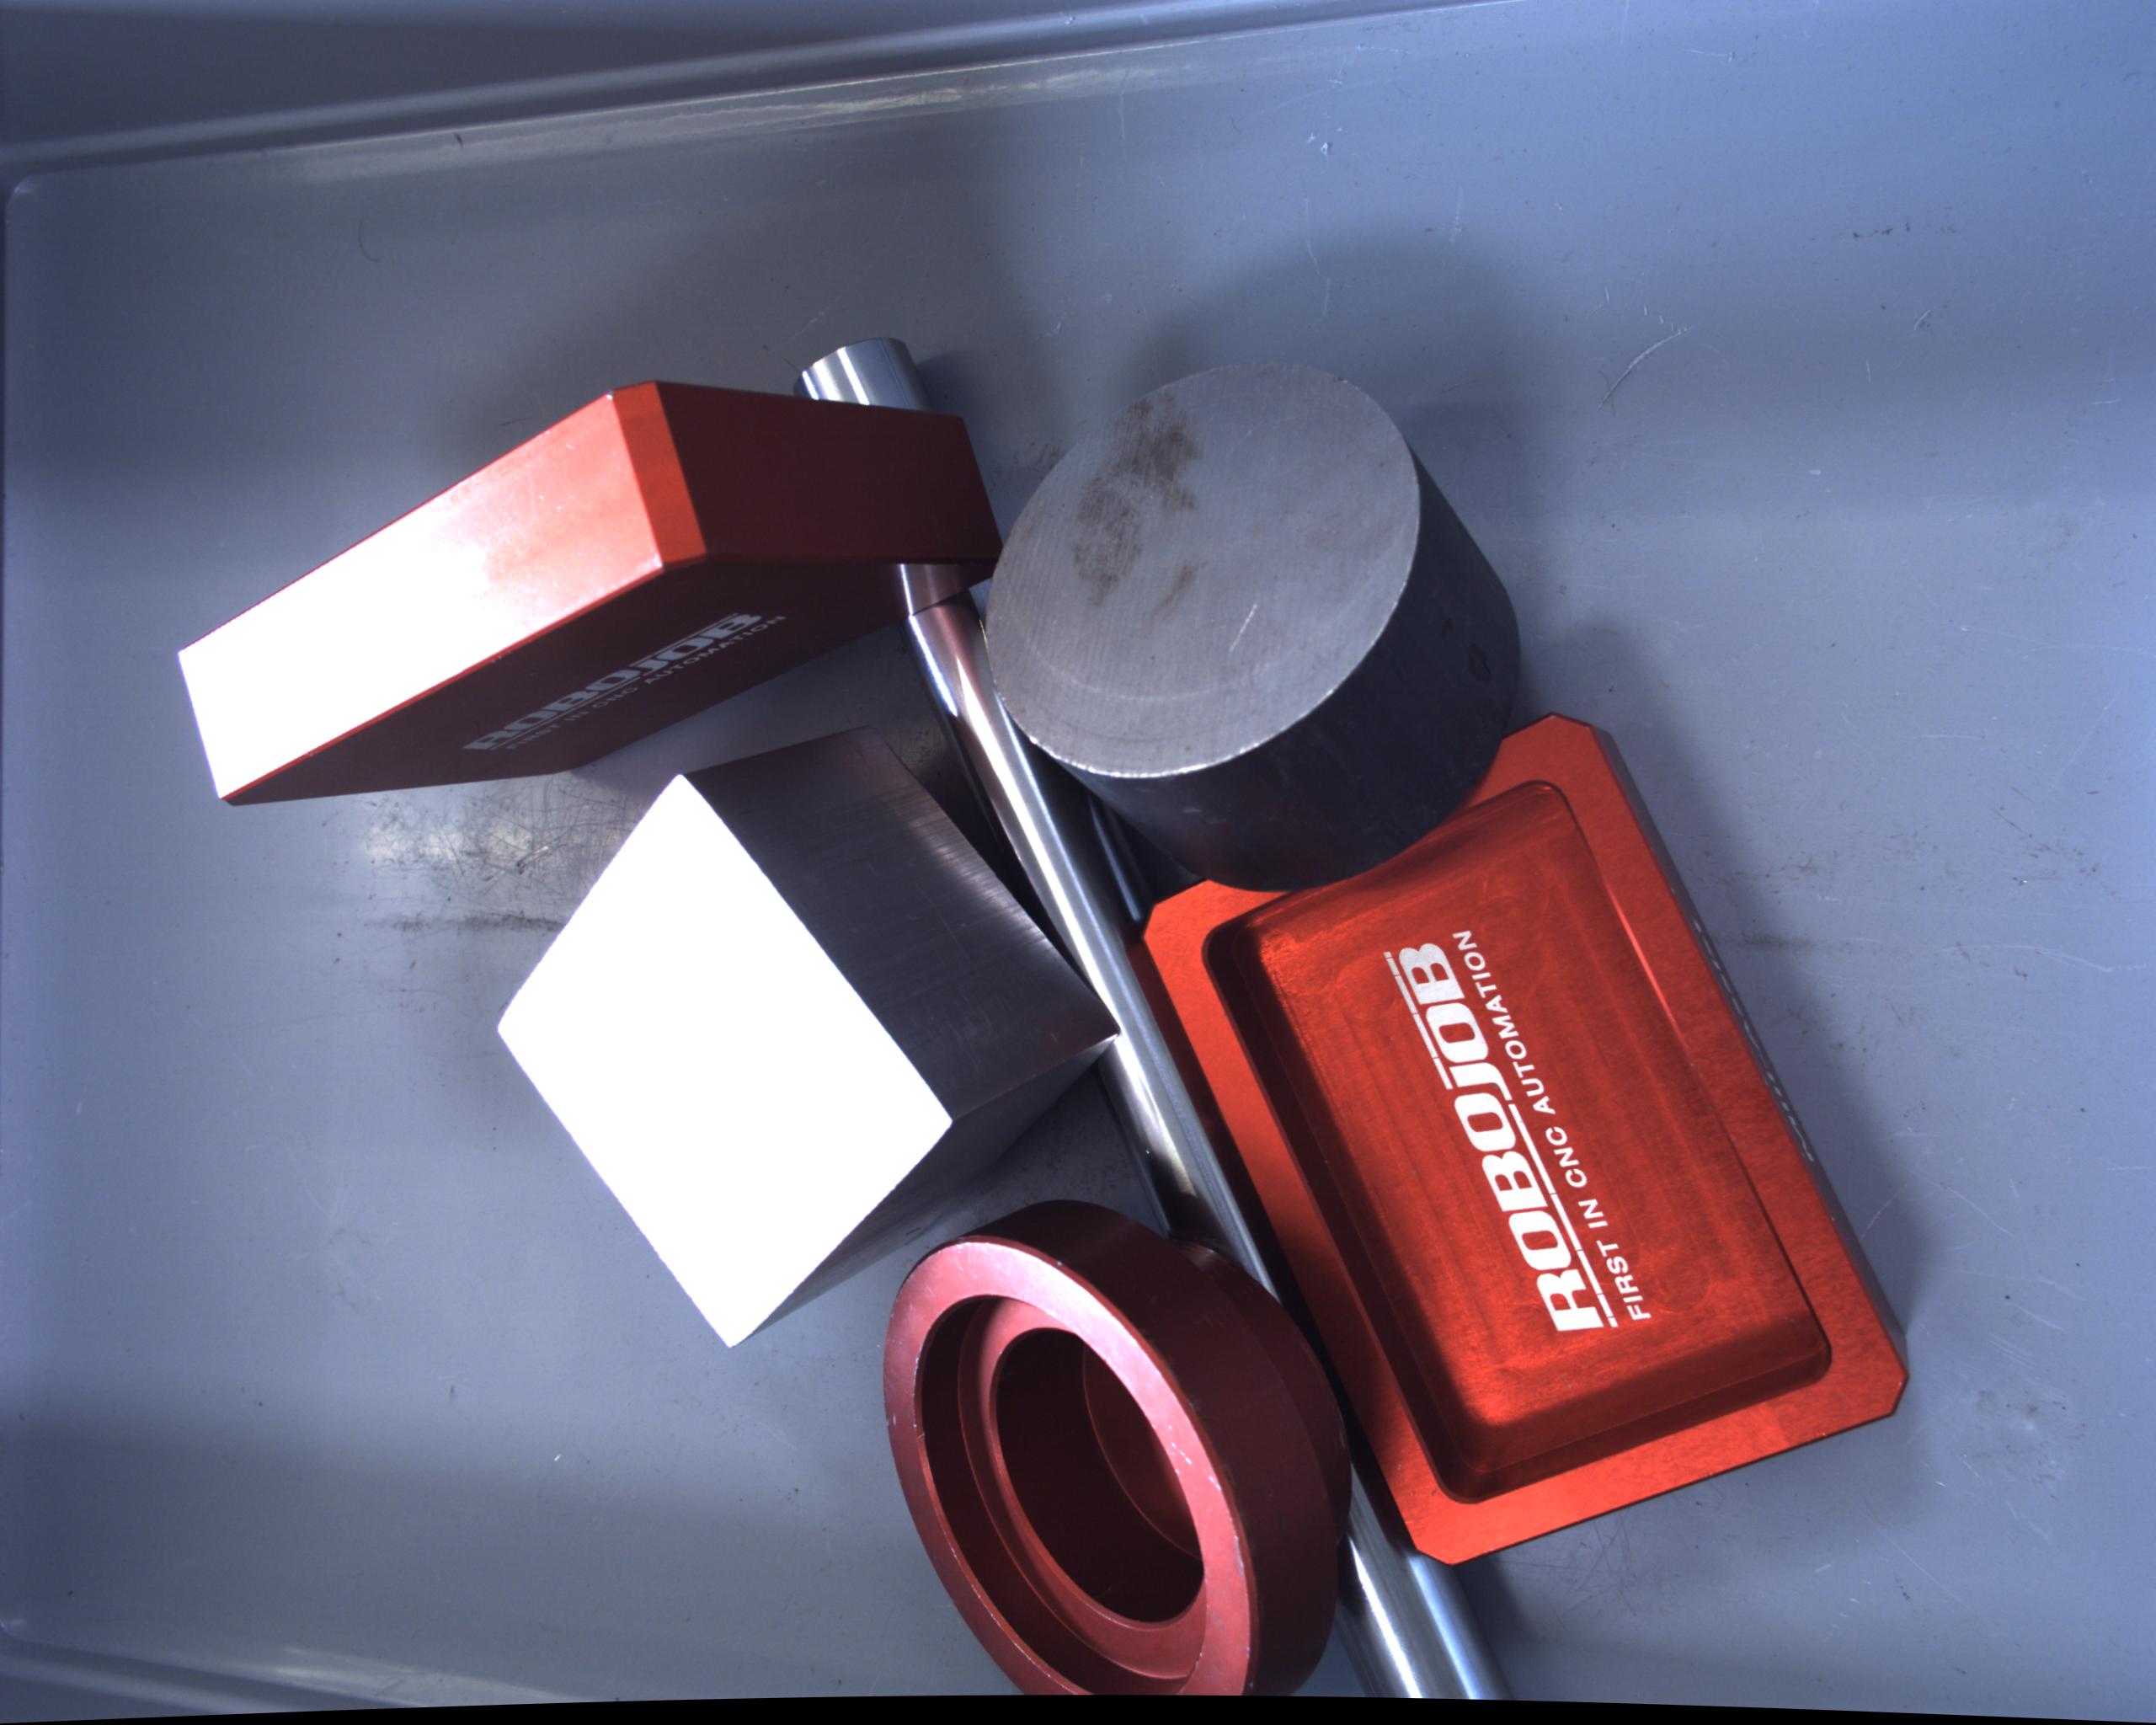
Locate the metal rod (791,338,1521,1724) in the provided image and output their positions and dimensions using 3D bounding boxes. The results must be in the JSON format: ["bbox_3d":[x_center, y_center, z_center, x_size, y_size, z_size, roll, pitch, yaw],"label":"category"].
[{"bbox_3d":[0.013,0.035,0.403,0.025,0.025,0.299,-27,81,18],"label":"metal rod"}]

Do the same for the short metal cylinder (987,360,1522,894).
[{"bbox_3d":[0.031,-0.041,0.369,0.080,0.050,0.080,-14,60,25],"label":"short metal cylinder"}]

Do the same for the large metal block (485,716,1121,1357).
[{"bbox_3d":[-0.053,0.032,0.395,0.080,0.050,0.080,50,123,13],"label":"large metal block"}]

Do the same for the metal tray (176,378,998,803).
[{"bbox_3d":[-0.091,-0.047,0.391,0.130,0.091,0.030,-20,85,33],"label":"metal tray"}]

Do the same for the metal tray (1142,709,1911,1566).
[{"bbox_3d":[0.079,0.049,0.378,0.090,0.030,0.129,-26,82,18],"label":"metal tray"}]

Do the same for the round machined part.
[{"bbox_3d":[0.011,0.108,0.381,0.098,0.042,0.097,20,118,44],"label":"round machined part"}]
